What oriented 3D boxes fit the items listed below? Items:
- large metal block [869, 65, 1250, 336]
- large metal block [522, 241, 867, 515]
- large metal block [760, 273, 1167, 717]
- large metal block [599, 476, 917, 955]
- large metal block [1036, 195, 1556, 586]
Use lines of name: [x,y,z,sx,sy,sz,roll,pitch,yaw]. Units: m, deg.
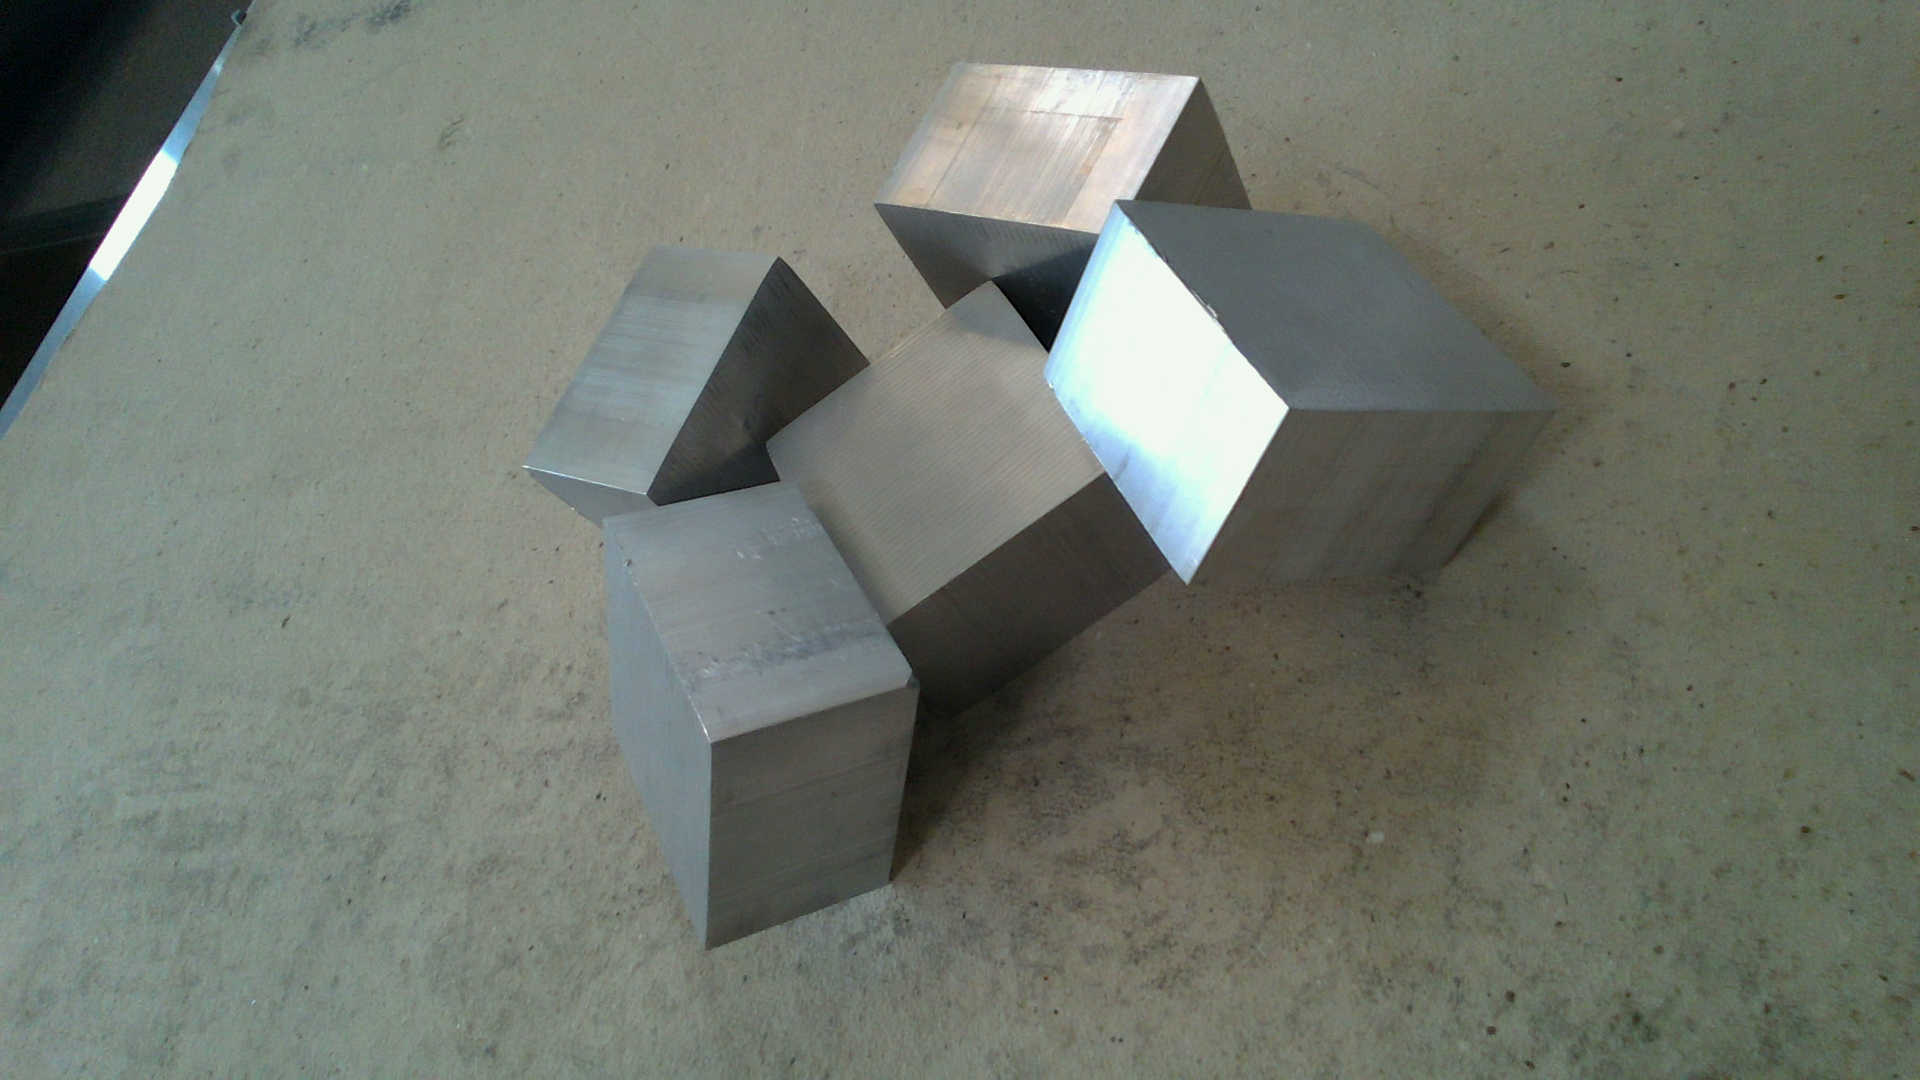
large metal block: [0.035,-0.086,0.393,0.080,0.080,0.050,17,70,35]
large metal block: [-0.070,-0.032,0.417,0.050,0.080,0.080,13,69,33]
large metal block: [0.002,-0.013,0.382,0.080,0.050,0.080,-35,52,5]
large metal block: [-0.055,0.043,0.354,0.050,0.080,0.080,-13,46,-25]
large metal block: [0.077,-0.037,0.332,0.080,0.080,0.050,61,142,39]
